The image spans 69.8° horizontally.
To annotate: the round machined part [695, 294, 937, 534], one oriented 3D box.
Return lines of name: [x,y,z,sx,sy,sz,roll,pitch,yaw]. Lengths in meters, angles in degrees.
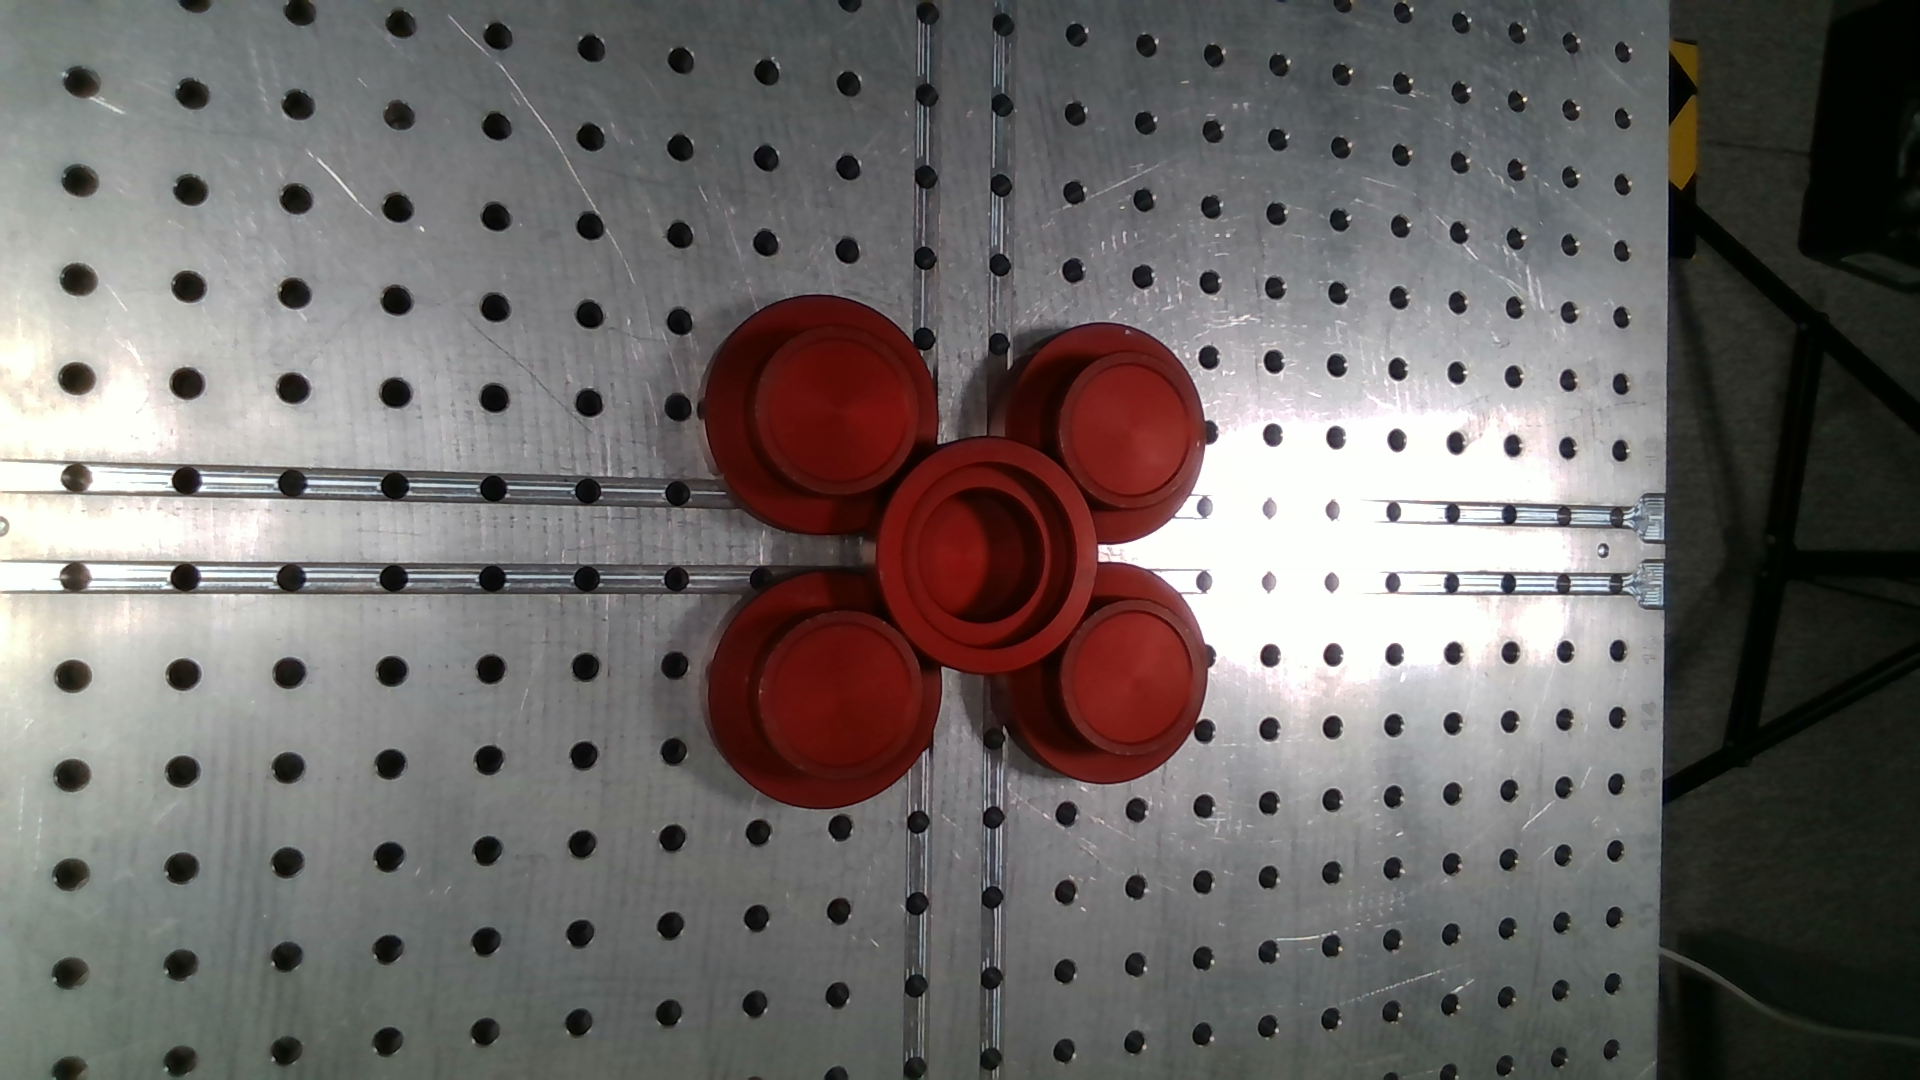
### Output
round machined part: [-0.055,-0.051,0.559,0.098,0.042,0.098,0,90,-20]

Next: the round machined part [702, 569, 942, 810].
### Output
round machined part: [-0.053,0.061,0.559,0.098,0.042,0.098,0,90,-20]

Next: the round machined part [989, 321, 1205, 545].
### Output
round machined part: [0.065,-0.047,0.603,0.098,0.042,0.098,0,90,-20]

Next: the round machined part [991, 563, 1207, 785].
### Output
round machined part: [0.066,0.059,0.604,0.098,0.042,0.098,0,90,-20]

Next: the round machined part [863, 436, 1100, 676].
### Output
round machined part: [0.006,0.007,0.580,0.098,0.042,0.098,0,90,-20]
